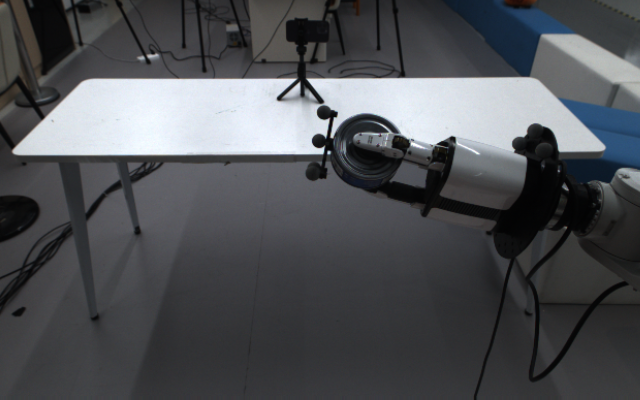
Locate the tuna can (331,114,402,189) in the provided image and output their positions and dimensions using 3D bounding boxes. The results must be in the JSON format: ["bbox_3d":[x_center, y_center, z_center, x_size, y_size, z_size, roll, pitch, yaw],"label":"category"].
[{"bbox_3d":[0.059,-0.055,0.573,0.085,0.034,0.085,2,73,-5],"label":"tuna can"}]
